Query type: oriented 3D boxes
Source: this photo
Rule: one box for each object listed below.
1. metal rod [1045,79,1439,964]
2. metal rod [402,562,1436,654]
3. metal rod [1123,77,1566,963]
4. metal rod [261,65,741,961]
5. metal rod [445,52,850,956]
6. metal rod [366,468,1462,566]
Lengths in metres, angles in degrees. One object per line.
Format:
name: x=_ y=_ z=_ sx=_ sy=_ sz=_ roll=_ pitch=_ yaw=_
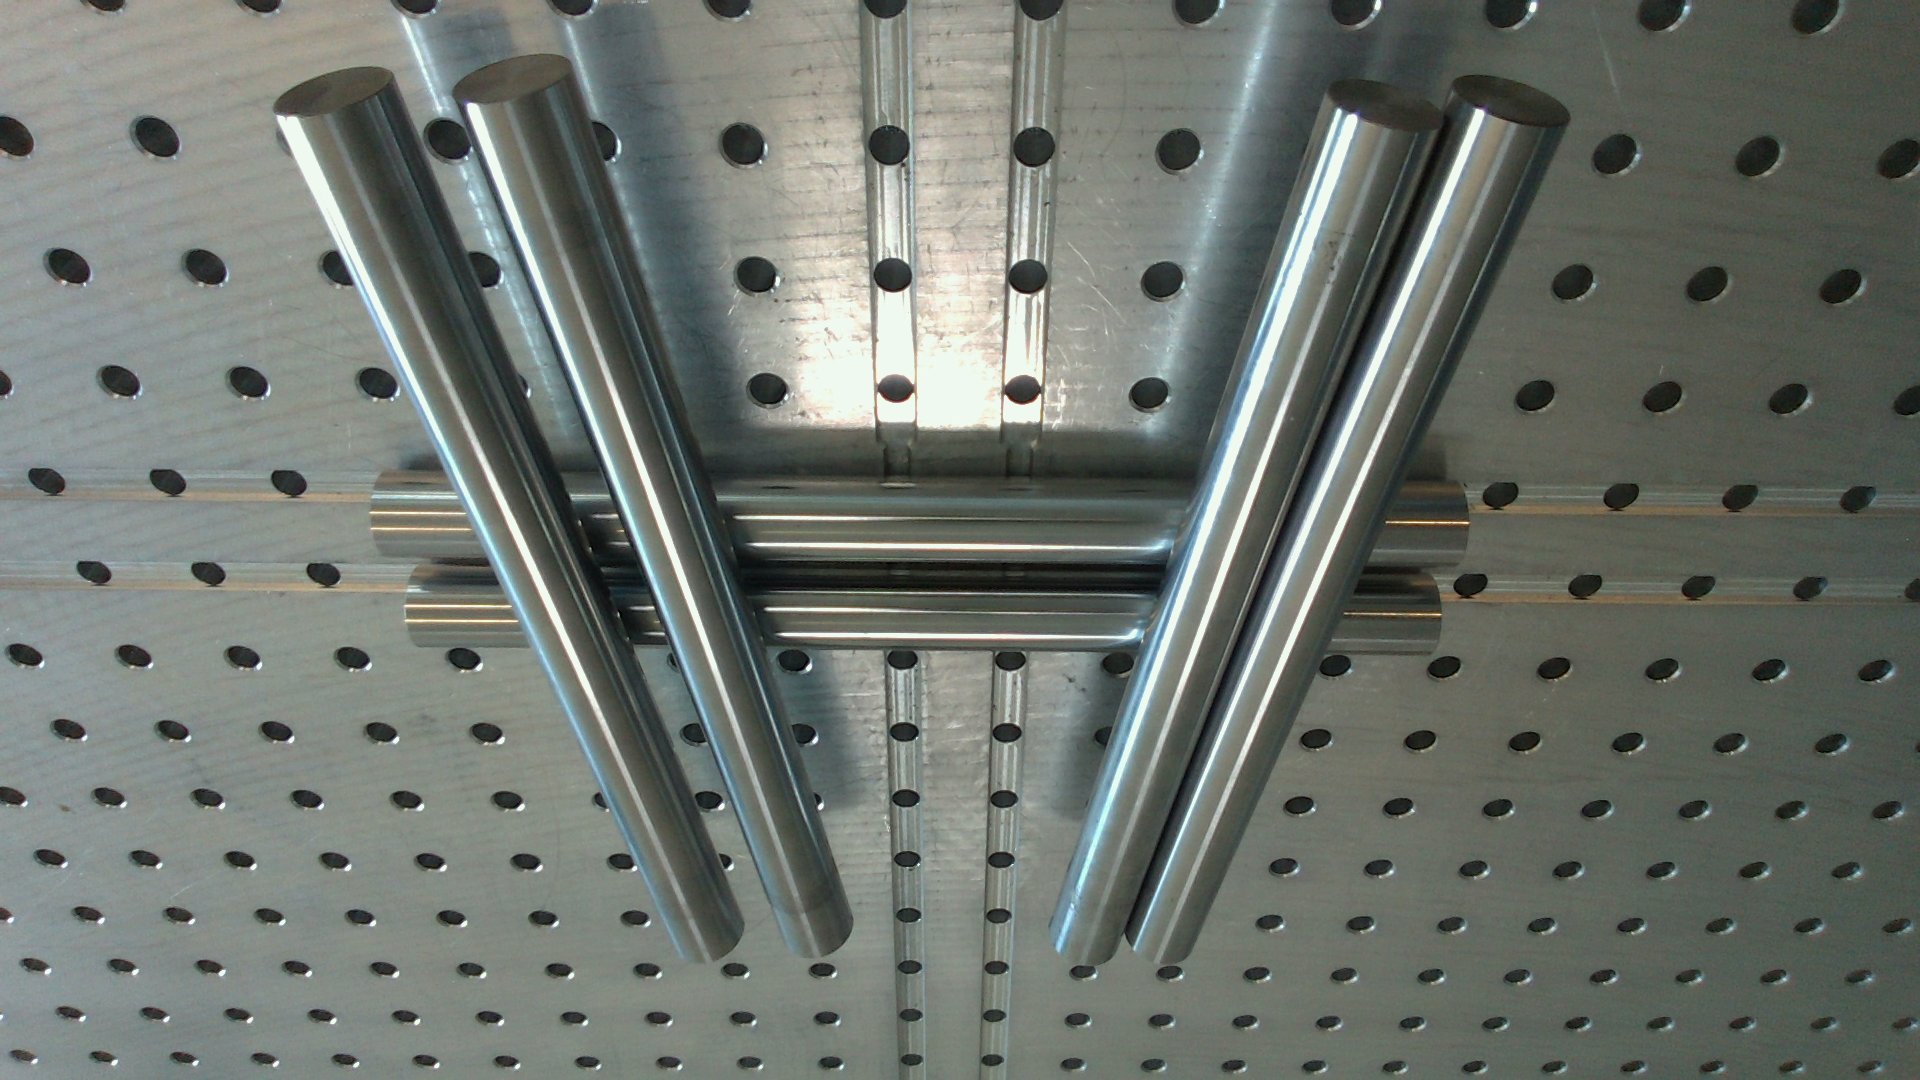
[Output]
metal rod: x=0.064 y=0.023 z=0.381 sx=0.025 sy=0.025 sz=0.300 roll=7 pitch=130 yaw=-6
metal rod: x=-0.011 y=0.020 z=0.412 sx=0.300 sy=0.025 sz=0.025 roll=1 pitch=130 yaw=-1
metal rod: x=0.090 y=0.022 z=0.381 sx=0.025 sy=0.025 sz=0.300 roll=7 pitch=130 yaw=-6
metal rod: x=-0.109 y=0.021 z=0.379 sx=0.025 sy=0.025 sz=0.300 roll=-6 pitch=130 yaw=5
metal rod: x=-0.071 y=0.019 z=0.377 sx=0.025 sy=0.025 sz=0.300 roll=-6 pitch=130 yaw=5
metal rod: x=-0.012 y=-0.006 z=0.389 sx=0.300 sy=0.025 sz=0.025 roll=1 pitch=130 yaw=-1
